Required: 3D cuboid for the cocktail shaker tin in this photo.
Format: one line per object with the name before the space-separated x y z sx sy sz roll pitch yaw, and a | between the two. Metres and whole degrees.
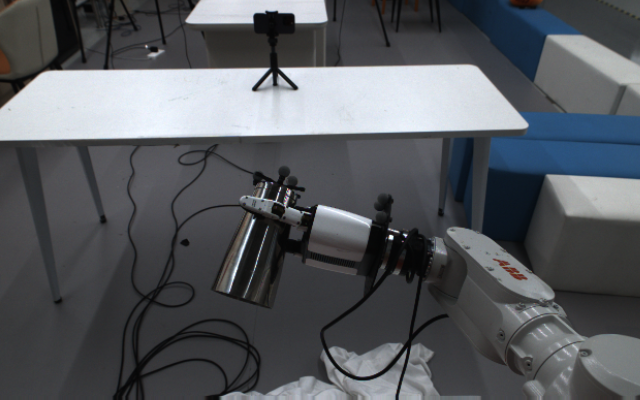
cocktail shaker tin | -0.088 0.060 0.711 0.093 0.093 0.170 12 73 14
